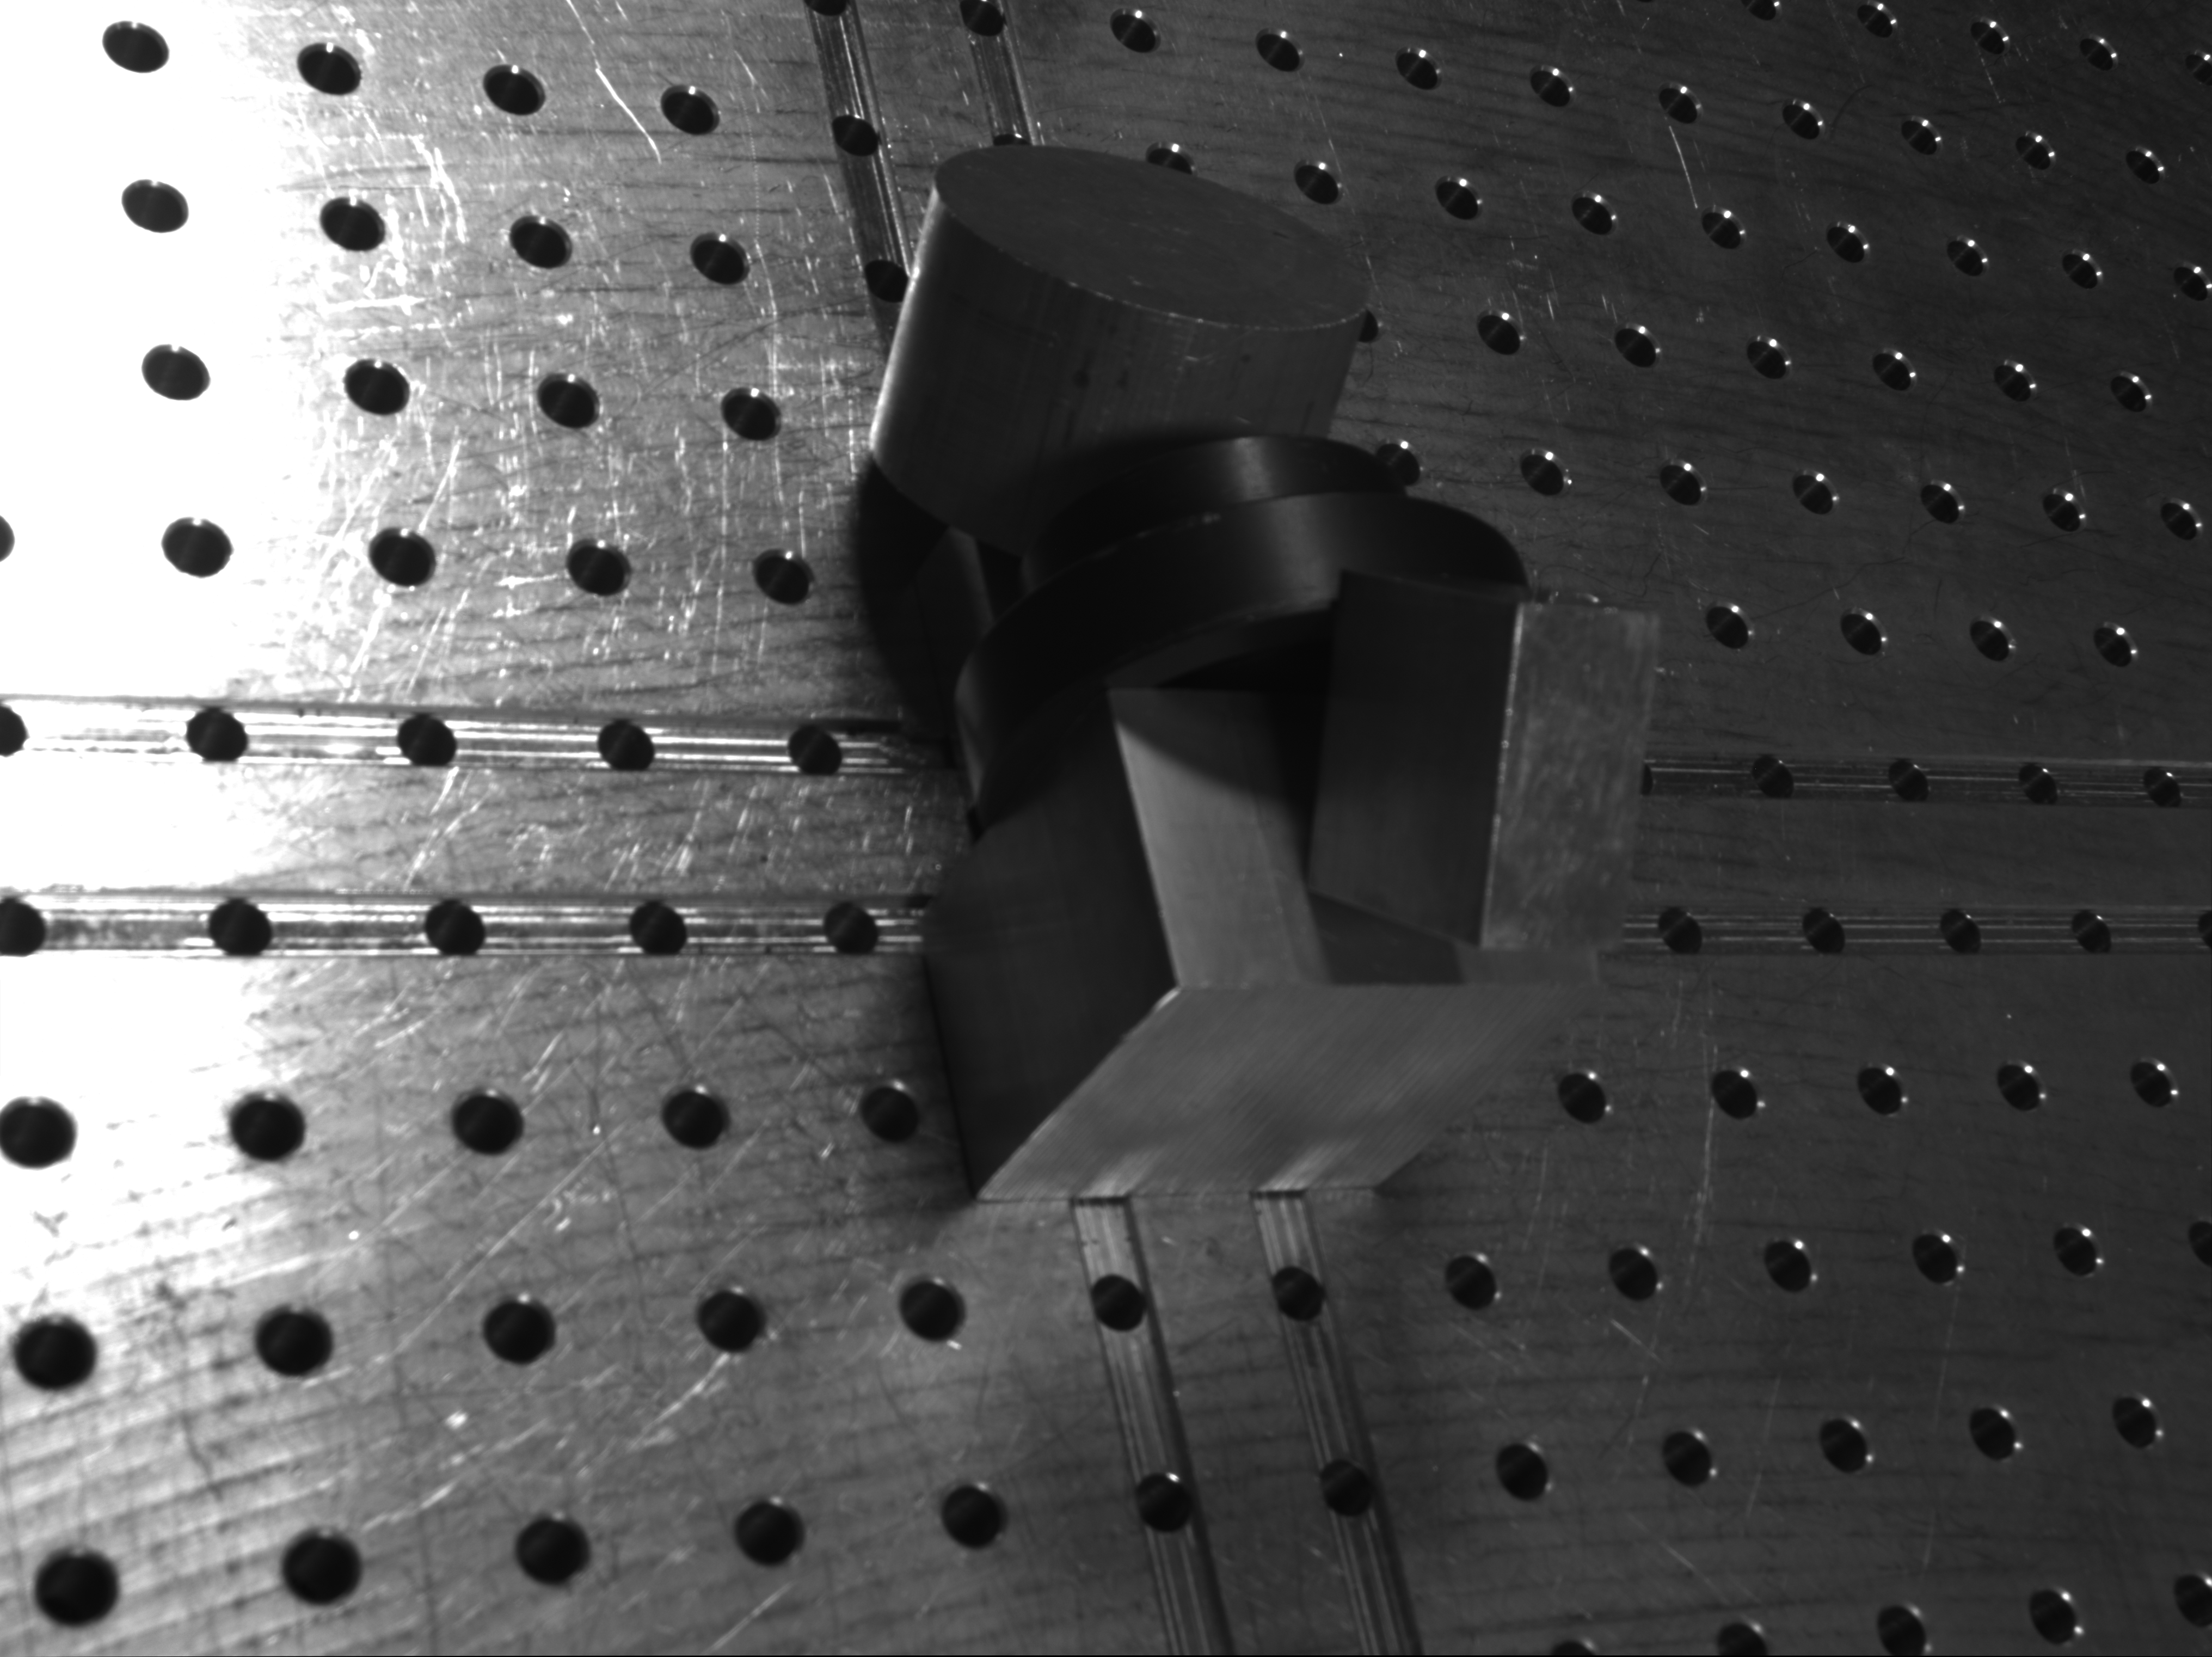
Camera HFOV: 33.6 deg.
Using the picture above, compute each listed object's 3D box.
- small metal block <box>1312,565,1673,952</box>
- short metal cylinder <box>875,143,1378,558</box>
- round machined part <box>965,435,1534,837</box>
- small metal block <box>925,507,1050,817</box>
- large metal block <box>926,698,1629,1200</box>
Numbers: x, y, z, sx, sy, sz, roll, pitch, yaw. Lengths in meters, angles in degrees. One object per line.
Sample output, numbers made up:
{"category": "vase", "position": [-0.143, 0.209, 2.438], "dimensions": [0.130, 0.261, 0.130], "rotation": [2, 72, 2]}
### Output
{"category": "small metal block", "position": [0.057, -0.011, 0.547], "dimensions": [0.025, 0.050, 0.050], "rotation": [2, 99, -28]}
{"category": "short metal cylinder", "position": [0.003, -0.084, 0.658], "dimensions": [0.080, 0.050, 0.080], "rotation": [13, 27, -7]}
{"category": "round machined part", "position": [0.024, -0.030, 0.614], "dimensions": [0.098, 0.098, 0.042], "rotation": [1, 61, -28]}
{"category": "small metal block", "position": [-0.001, -0.030, 0.660], "dimensions": [0.050, 0.025, 0.050], "rotation": [1, 61, -28]}
{"category": "large metal block", "position": [0.026, 0.021, 0.607], "dimensions": [0.080, 0.080, 0.050], "rotation": [1, 61, -28]}
